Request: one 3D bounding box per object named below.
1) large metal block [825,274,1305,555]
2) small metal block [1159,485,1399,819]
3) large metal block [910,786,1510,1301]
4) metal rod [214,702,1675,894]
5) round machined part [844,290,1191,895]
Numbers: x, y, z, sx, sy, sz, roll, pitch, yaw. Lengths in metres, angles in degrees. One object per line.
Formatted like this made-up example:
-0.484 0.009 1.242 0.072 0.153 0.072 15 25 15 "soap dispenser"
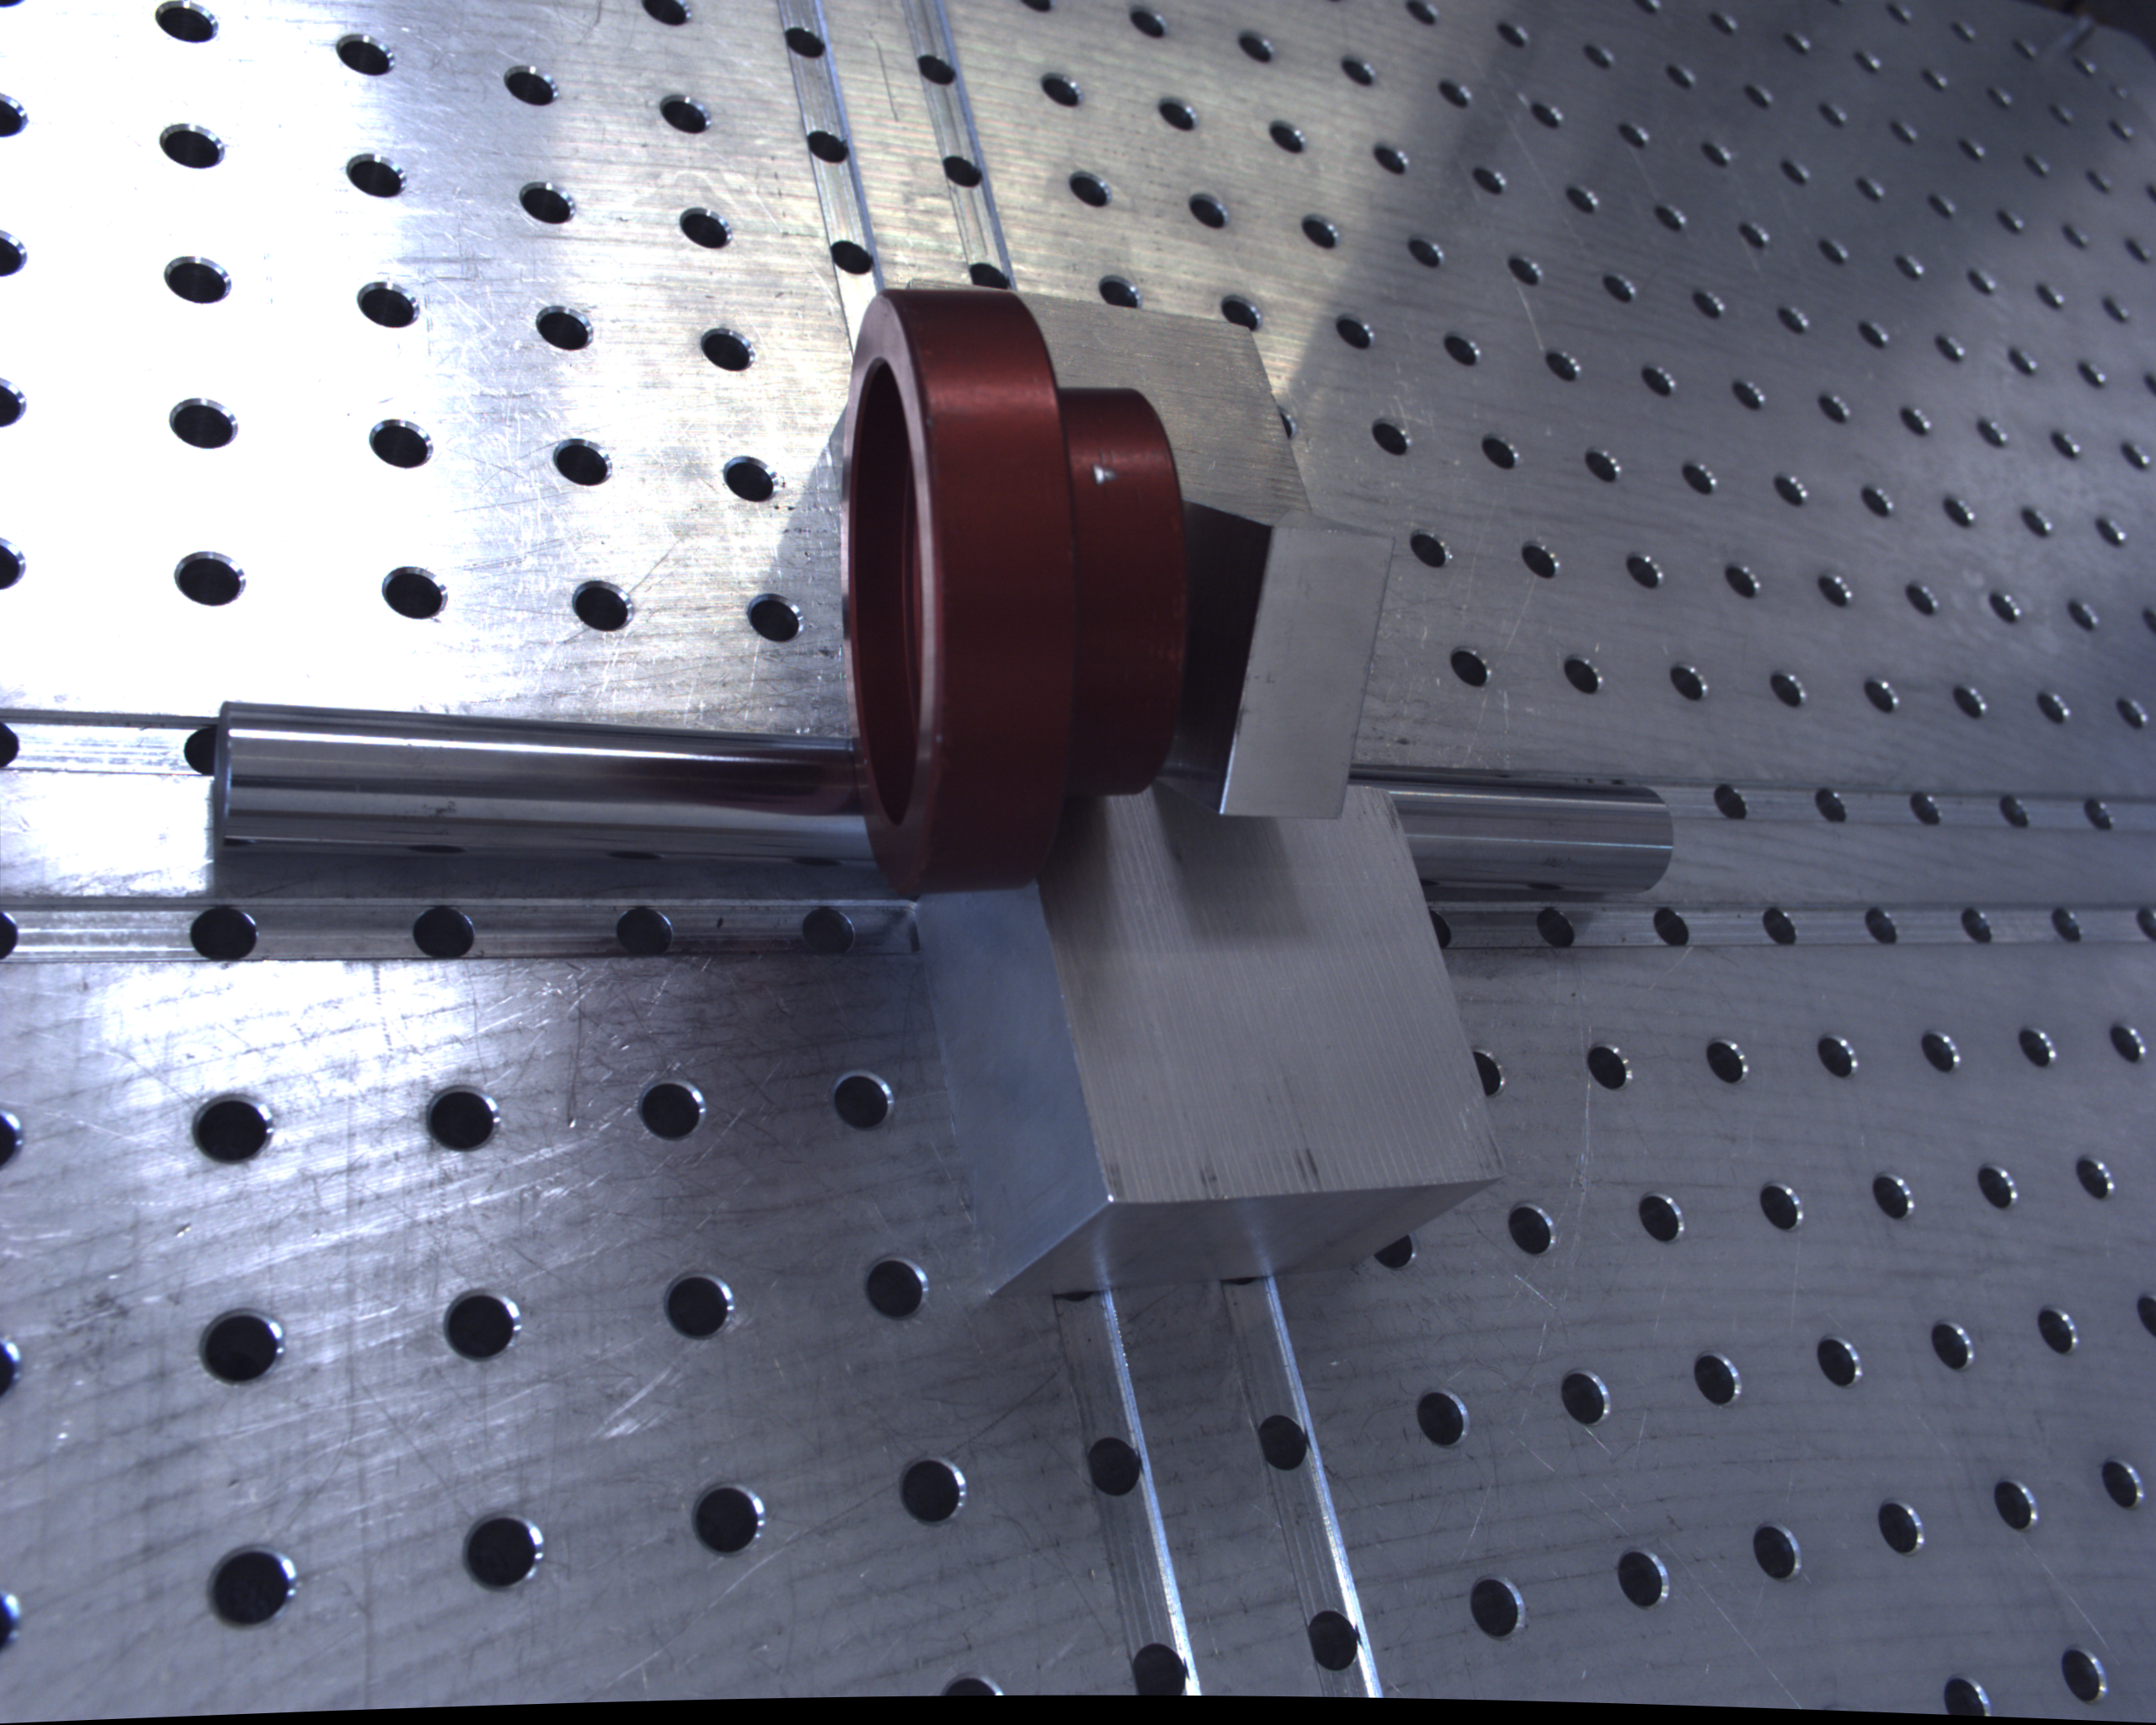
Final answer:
0.000 -0.069 0.434 0.081 0.050 0.080 1 62 -28 "large metal block"
0.028 -0.039 0.375 0.025 0.050 0.050 1 18 -28 "small metal block"
0.022 0.031 0.385 0.081 0.050 0.080 1 61 -28 "large metal block"
-0.006 -0.009 0.410 0.303 0.025 0.025 2 61 -27 "metal rod"
-0.011 -0.044 0.345 0.042 0.098 0.098 -3 63 -14 "round machined part"
